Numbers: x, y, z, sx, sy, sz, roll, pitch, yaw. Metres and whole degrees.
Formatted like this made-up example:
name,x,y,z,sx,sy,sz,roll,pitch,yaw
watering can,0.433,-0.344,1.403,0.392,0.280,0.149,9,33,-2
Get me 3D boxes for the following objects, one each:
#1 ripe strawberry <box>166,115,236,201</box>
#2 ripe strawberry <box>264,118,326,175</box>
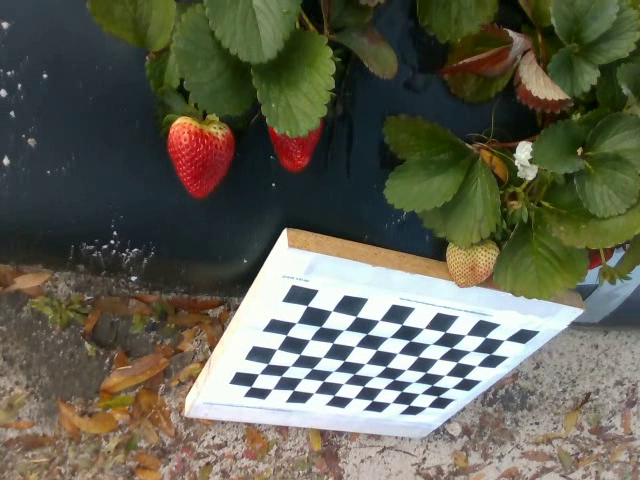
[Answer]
name,x,y,z,sx,sy,sz,roll,pitch,yaw
ripe strawberry,-0.082,-0.055,0.416,0.050,0.061,0.045,7,9,-11
ripe strawberry,-0.017,-0.071,0.419,0.042,0.053,0.034,4,13,-7
